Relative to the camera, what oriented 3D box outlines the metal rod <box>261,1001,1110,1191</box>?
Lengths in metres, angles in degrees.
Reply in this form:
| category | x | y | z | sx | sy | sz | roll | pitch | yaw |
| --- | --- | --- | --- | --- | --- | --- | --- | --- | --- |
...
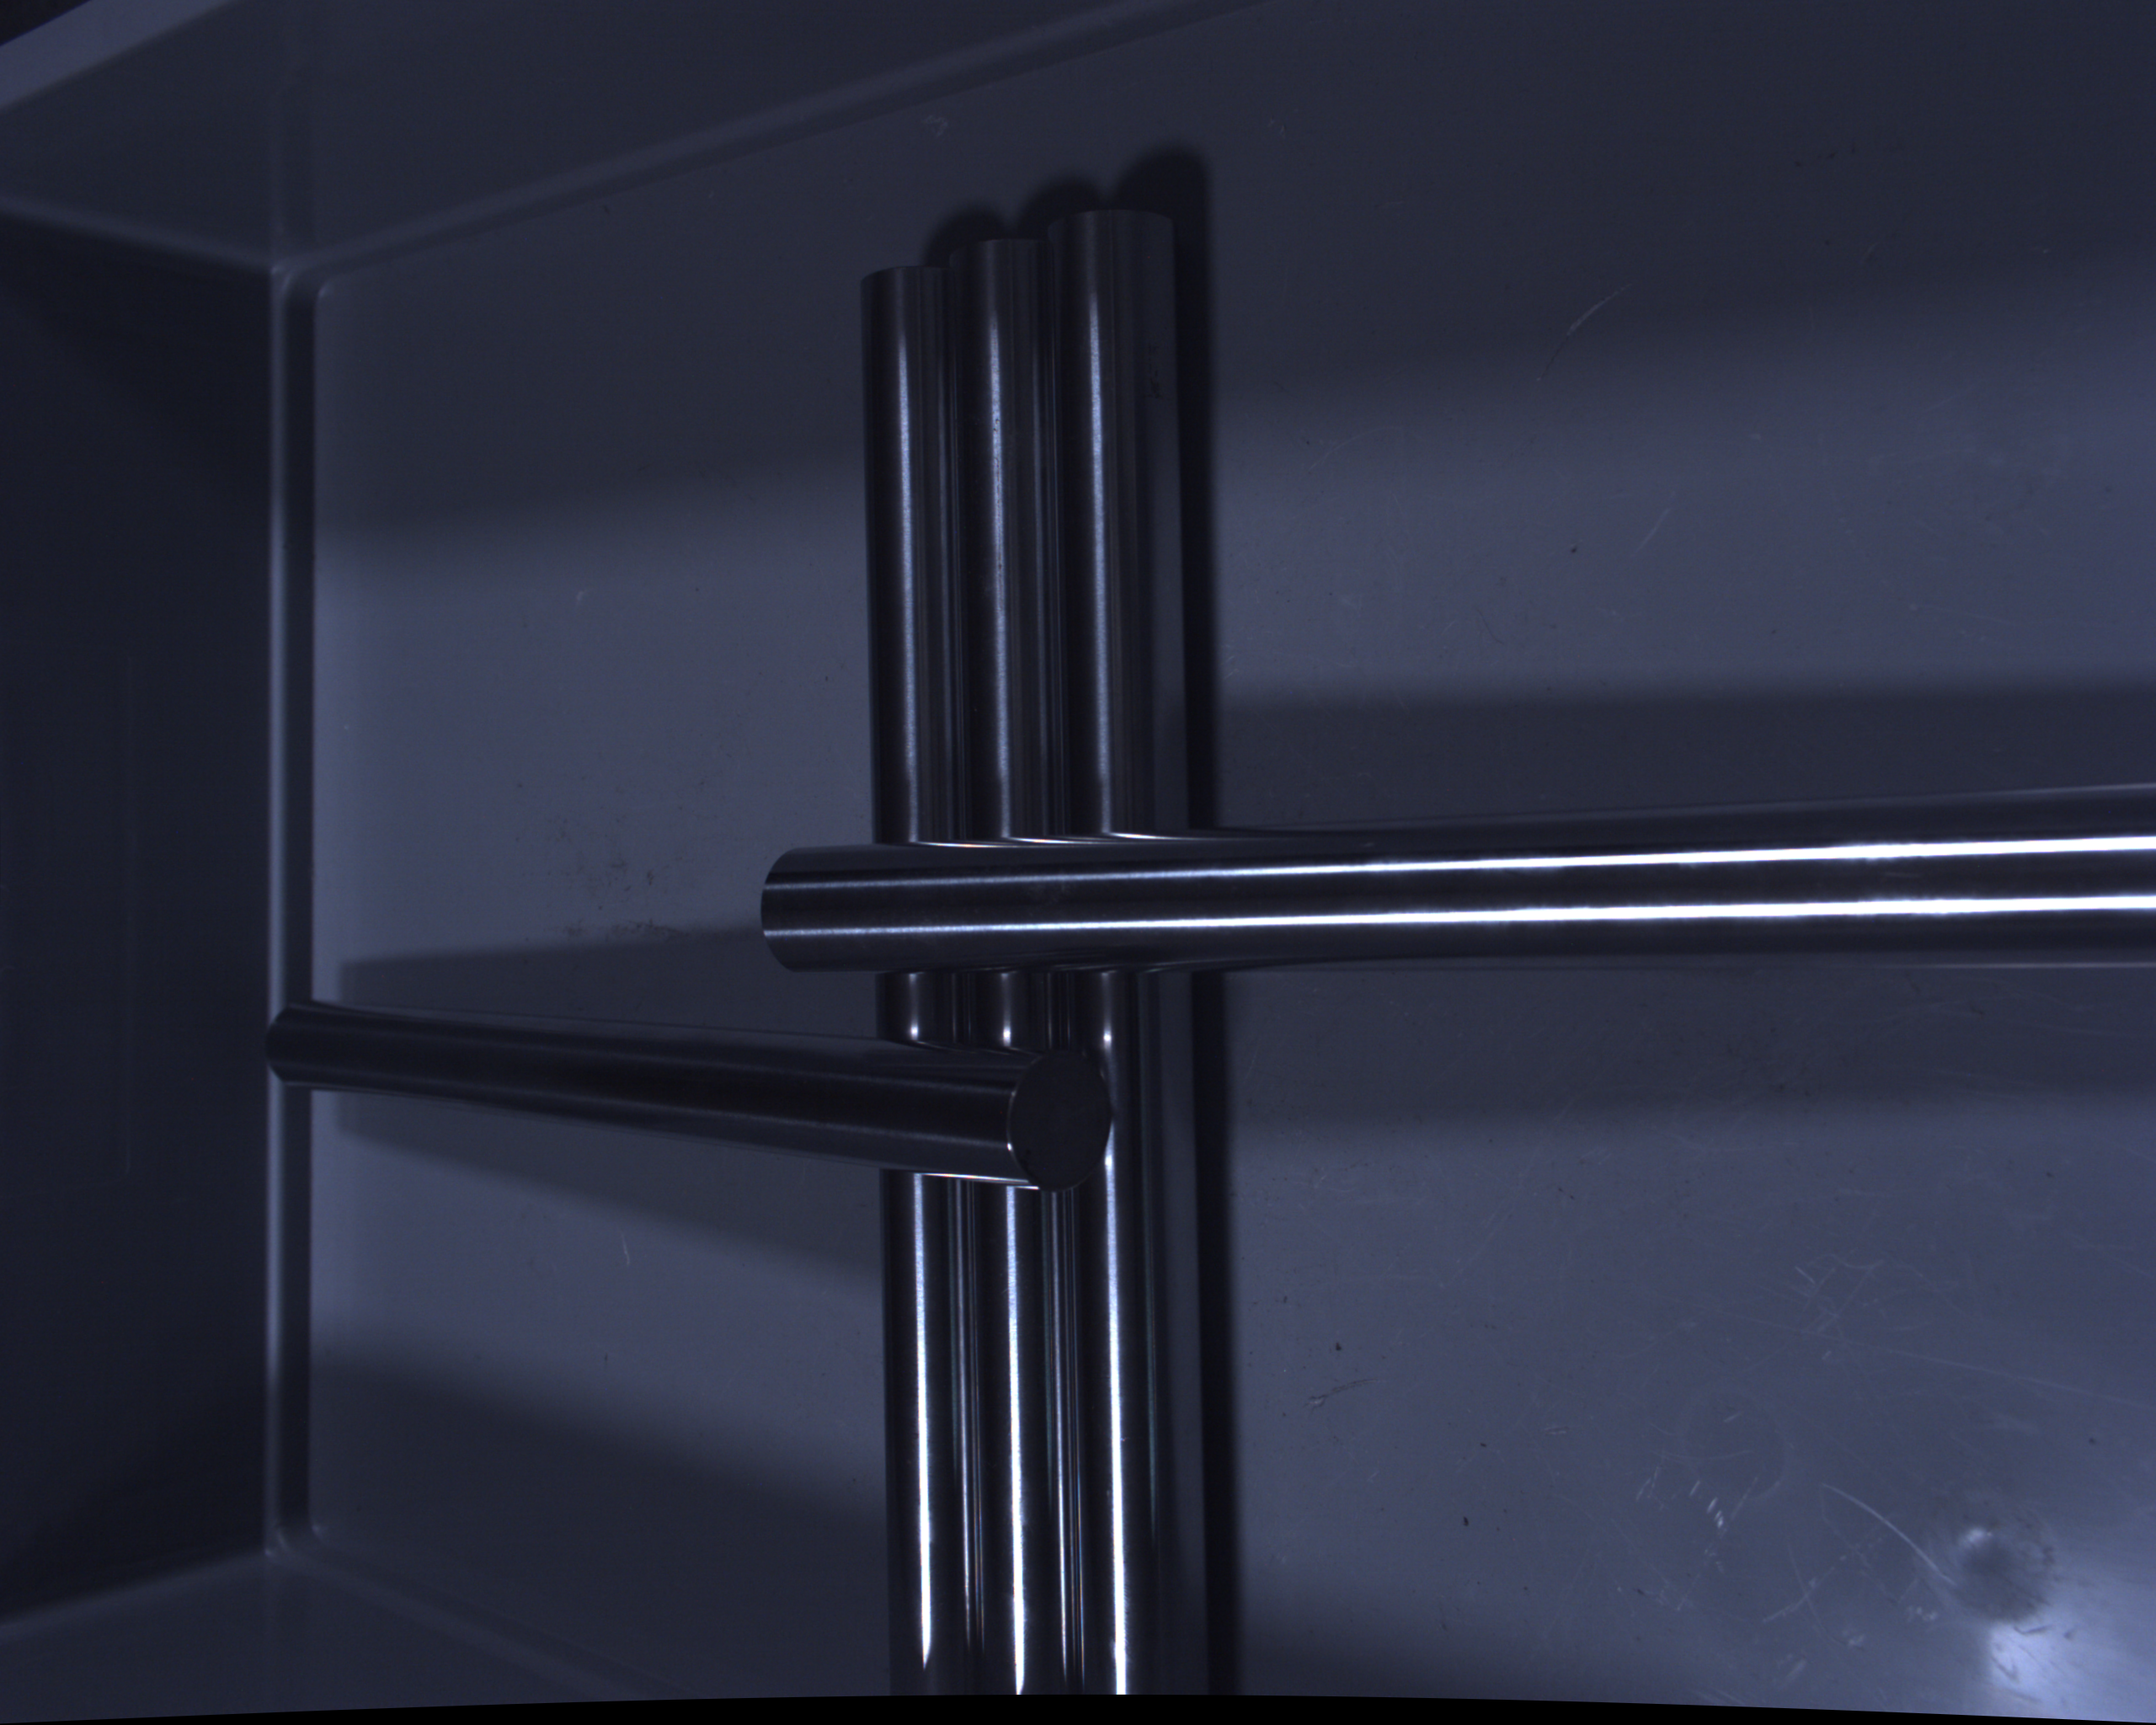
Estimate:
| category | x | y | z | sx | sy | sz | roll | pitch | yaw |
| --- | --- | --- | --- | --- | --- | --- | --- | --- | --- |
| metal rod | -0.109 | 0.048 | 0.471 | 0.300 | 0.025 | 0.025 | -1 | 89 | 45 |

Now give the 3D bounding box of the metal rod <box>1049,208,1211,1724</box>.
| category | x | y | z | sx | sy | sz | roll | pitch | yaw |
| --- | --- | --- | --- | --- | --- | --- | --- | --- | --- |
| metal rod | 0.010 | 0.028 | 0.395 | 0.025 | 0.025 | 0.298 | -2 | 89 | 39 |

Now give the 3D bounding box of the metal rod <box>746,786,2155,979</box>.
| category | x | y | z | sx | sy | sz | roll | pitch | yaw |
| --- | --- | --- | --- | --- | --- | --- | --- | --- | --- |
| metal rod | 0.070 | 0.005 | 0.324 | 0.300 | 0.025 | 0.025 | -2 | 89 | 33 |

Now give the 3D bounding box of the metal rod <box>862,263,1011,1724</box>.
| category | x | y | z | sx | sy | sz | roll | pitch | yaw |
| --- | --- | --- | --- | --- | --- | --- | --- | --- | --- |
| metal rod | -0.029 | 0.029 | 0.427 | 0.025 | 0.025 | 0.298 | -2 | 89 | 39 |

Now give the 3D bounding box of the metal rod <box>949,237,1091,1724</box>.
| category | x | y | z | sx | sy | sz | roll | pitch | yaw |
| --- | --- | --- | --- | --- | --- | --- | --- | --- | --- |
| metal rod | -0.010 | 0.029 | 0.411 | 0.025 | 0.025 | 0.298 | -2 | 89 | 39 |
